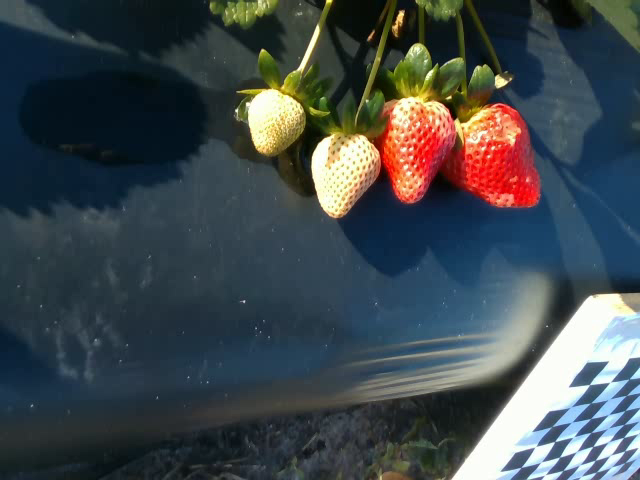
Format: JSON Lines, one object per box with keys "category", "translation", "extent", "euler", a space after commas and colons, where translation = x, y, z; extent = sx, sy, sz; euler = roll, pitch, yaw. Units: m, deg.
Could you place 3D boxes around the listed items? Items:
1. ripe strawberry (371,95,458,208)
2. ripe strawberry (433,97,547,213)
{"category": "ripe strawberry", "translation": [0.045, -0.042, 0.289], "extent": [0.043, 0.061, 0.050], "euler": [-4, -21, 38]}
{"category": "ripe strawberry", "translation": [0.092, -0.040, 0.314], "extent": [0.056, 0.067, 0.051], "euler": [-36, -5, 2]}
